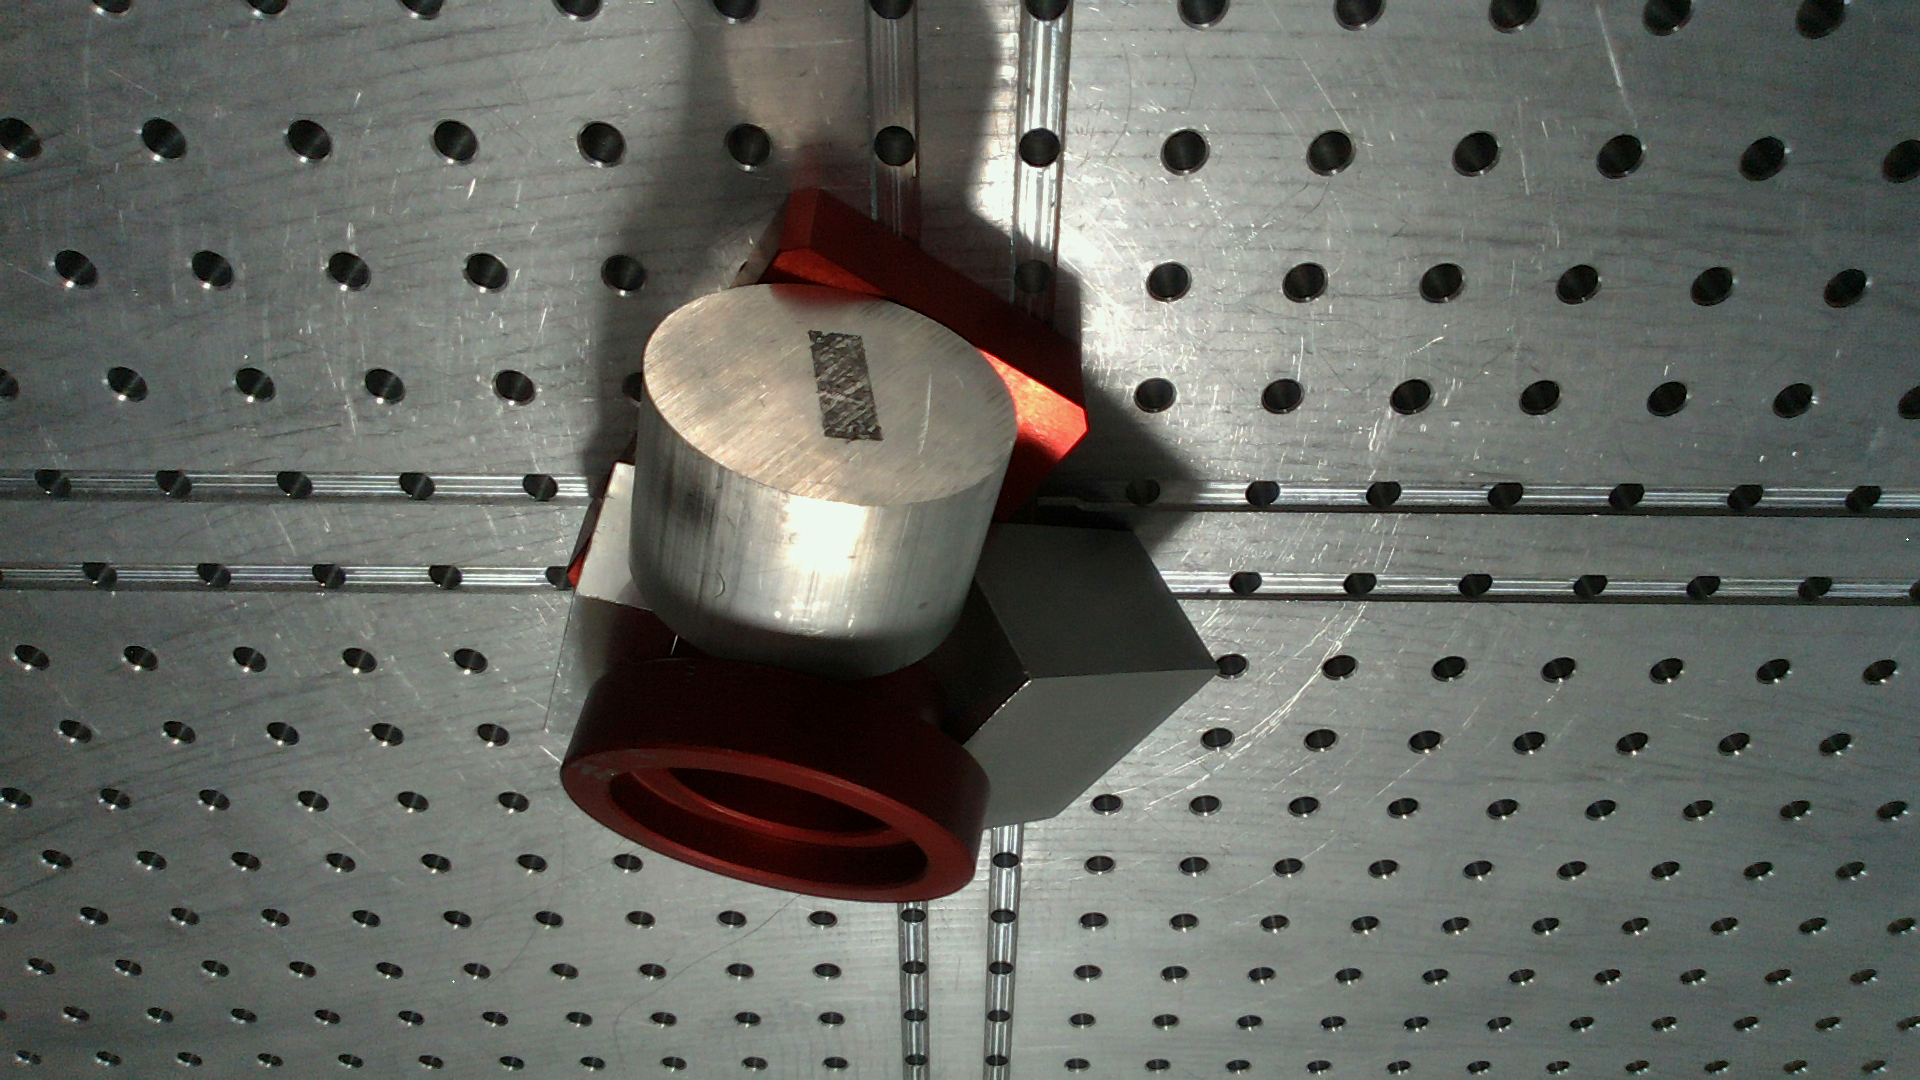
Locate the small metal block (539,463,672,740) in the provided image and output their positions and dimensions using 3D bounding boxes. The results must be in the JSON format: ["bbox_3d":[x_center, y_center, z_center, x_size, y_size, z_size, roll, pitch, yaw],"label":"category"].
[{"bbox_3d":[-0.085,0.018,0.351,0.025,0.050,0.050,15,129,-12],"label":"small metal block"}]

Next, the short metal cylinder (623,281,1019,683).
[{"bbox_3d":[-0.032,-0.014,0.306,0.080,0.080,0.050,10,129,-9],"label":"short metal cylinder"}]

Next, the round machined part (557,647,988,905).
[{"bbox_3d":[-0.041,0.051,0.327,0.098,0.042,0.098,10,151,6],"label":"round machined part"}]

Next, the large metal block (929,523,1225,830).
[{"bbox_3d":[0.012,0.041,0.388,0.080,0.050,0.080,3,138,-45],"label":"large metal block"}]

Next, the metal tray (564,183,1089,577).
[{"bbox_3d":[-0.038,-0.020,0.374,0.090,0.030,0.130,27,125,-21],"label":"metal tray"}]
